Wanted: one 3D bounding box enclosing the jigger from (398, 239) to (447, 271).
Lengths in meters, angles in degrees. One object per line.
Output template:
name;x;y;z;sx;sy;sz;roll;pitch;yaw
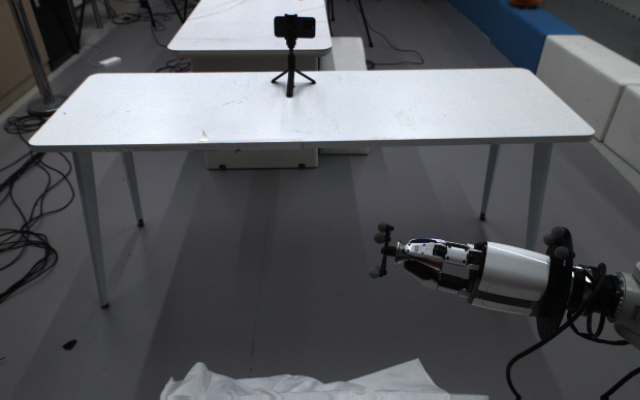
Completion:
jigger;0.155;0.079;0.719;0.071;0.043;0.043;7;35;14
